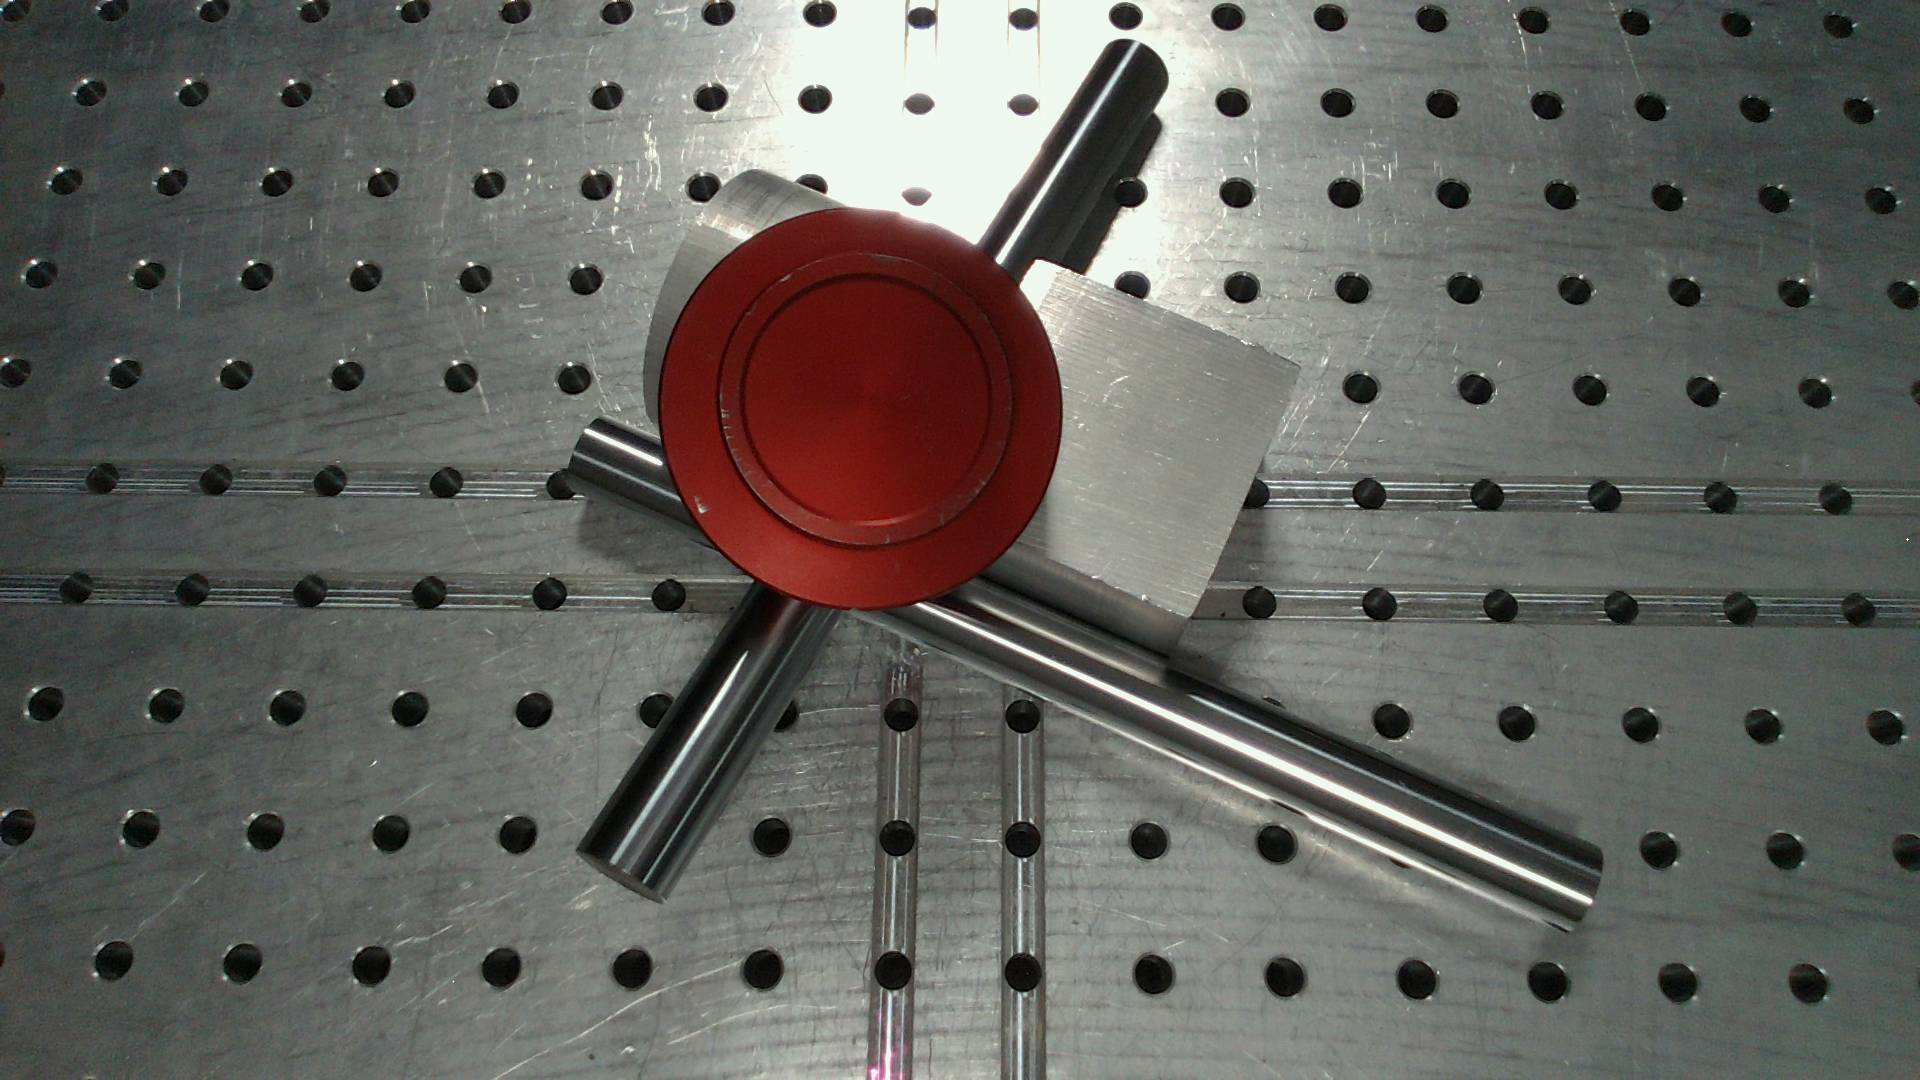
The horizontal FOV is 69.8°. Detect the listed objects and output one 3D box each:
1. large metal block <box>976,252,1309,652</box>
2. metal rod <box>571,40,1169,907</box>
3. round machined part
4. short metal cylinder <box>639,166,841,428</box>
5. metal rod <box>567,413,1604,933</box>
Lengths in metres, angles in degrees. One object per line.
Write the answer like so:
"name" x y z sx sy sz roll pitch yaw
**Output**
"large metal block" 0.041 -0.022 0.388 0.080 0.050 0.080 24 72 9
"metal rod" -0.012 -0.037 0.390 0.025 0.025 0.301 26 65 9
"round machined part" -0.023 -0.032 0.330 0.098 0.042 0.098 0 90 -7
"short metal cylinder" -0.047 -0.058 0.388 0.050 0.080 0.080 23 72 8
"metal rod" 0.027 0.033 0.384 0.300 0.025 0.025 23 72 8
